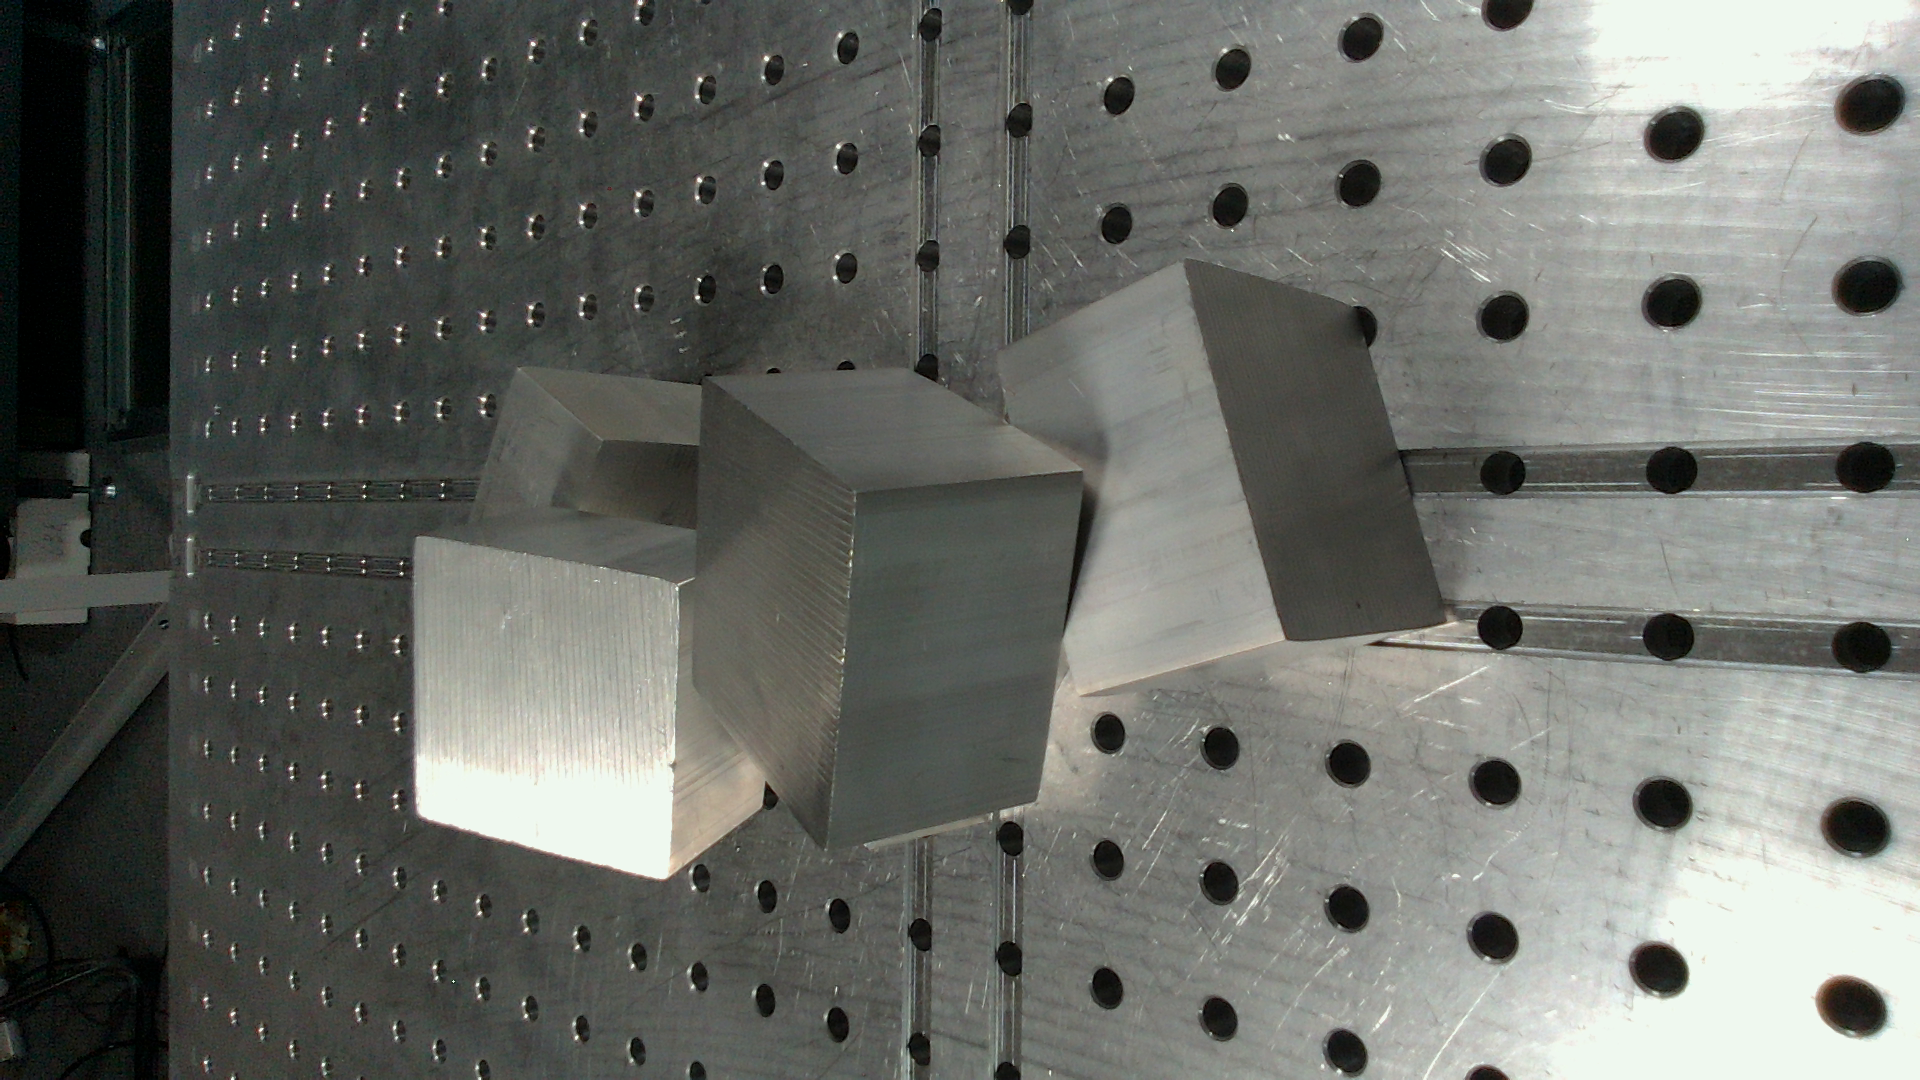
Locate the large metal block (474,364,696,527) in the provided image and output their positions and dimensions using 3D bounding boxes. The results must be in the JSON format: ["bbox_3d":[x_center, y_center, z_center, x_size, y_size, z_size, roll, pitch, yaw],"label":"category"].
[{"bbox_3d":[-0.109,-0.007,0.453,0.050,0.080,0.080,37,113,34],"label":"large metal block"}]

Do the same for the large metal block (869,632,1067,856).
[{"bbox_3d":[-0.018,0.030,0.396,0.080,0.050,0.080,39,114,33],"label":"large metal block"}]

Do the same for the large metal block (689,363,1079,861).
[{"bbox_3d":[-0.022,0.011,0.309,0.080,0.050,0.080,36,126,51],"label":"large metal block"}]

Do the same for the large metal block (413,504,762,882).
[{"bbox_3d":[-0.101,0.039,0.380,0.080,0.050,0.080,9,103,19],"label":"large metal block"}]

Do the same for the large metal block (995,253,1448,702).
[{"bbox_3d":[0.060,-0.011,0.311,0.050,0.080,0.080,-21,77,38],"label":"large metal block"}]
